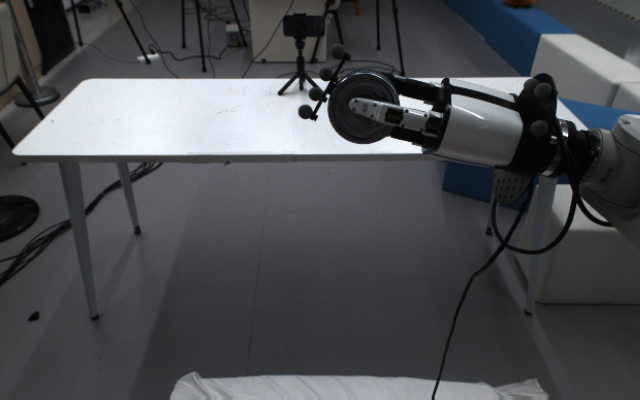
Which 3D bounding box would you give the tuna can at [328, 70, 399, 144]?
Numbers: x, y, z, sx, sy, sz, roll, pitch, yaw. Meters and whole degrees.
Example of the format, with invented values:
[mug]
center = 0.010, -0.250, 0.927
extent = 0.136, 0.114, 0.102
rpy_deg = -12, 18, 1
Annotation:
[tuna can]
center = 0.054, -0.114, 0.582
extent = 0.085, 0.085, 0.034
rpy_deg = 3, 20, 1
